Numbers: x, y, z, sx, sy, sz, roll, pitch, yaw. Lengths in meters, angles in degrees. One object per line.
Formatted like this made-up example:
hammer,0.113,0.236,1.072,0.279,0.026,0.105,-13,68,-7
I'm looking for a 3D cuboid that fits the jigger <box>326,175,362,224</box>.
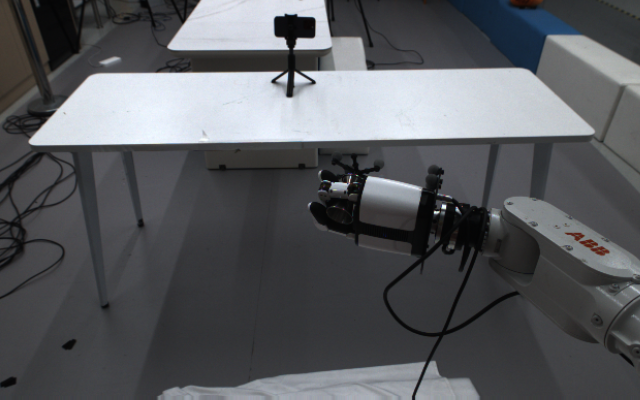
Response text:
jigger,0.044,-0.003,0.744,0.043,0.043,0.071,13,58,16
